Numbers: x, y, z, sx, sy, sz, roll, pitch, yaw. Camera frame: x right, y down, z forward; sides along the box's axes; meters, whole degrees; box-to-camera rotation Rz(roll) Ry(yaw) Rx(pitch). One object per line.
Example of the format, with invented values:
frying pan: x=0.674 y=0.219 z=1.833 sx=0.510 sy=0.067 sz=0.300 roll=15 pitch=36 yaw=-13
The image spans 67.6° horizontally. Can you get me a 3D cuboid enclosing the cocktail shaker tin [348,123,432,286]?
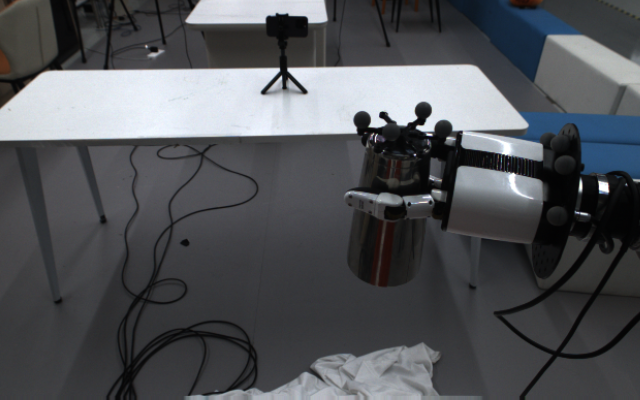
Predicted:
cocktail shaker tin: x=0.085 y=0.003 z=0.548 sx=0.093 sy=0.170 sz=0.093 roll=1 pitch=39 yaw=0
